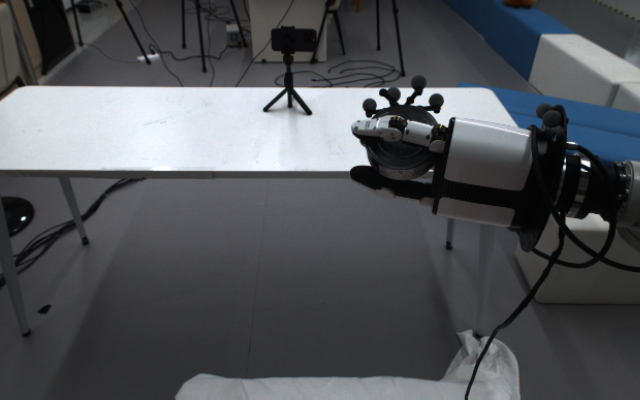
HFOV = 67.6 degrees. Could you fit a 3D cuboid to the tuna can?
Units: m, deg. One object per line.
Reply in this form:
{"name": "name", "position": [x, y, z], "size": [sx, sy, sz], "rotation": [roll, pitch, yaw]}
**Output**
{"name": "tuna can", "position": [0.095, -0.067, 0.562], "size": [0.085, 0.034, 0.085], "rotation": [-6, 61, 10]}
